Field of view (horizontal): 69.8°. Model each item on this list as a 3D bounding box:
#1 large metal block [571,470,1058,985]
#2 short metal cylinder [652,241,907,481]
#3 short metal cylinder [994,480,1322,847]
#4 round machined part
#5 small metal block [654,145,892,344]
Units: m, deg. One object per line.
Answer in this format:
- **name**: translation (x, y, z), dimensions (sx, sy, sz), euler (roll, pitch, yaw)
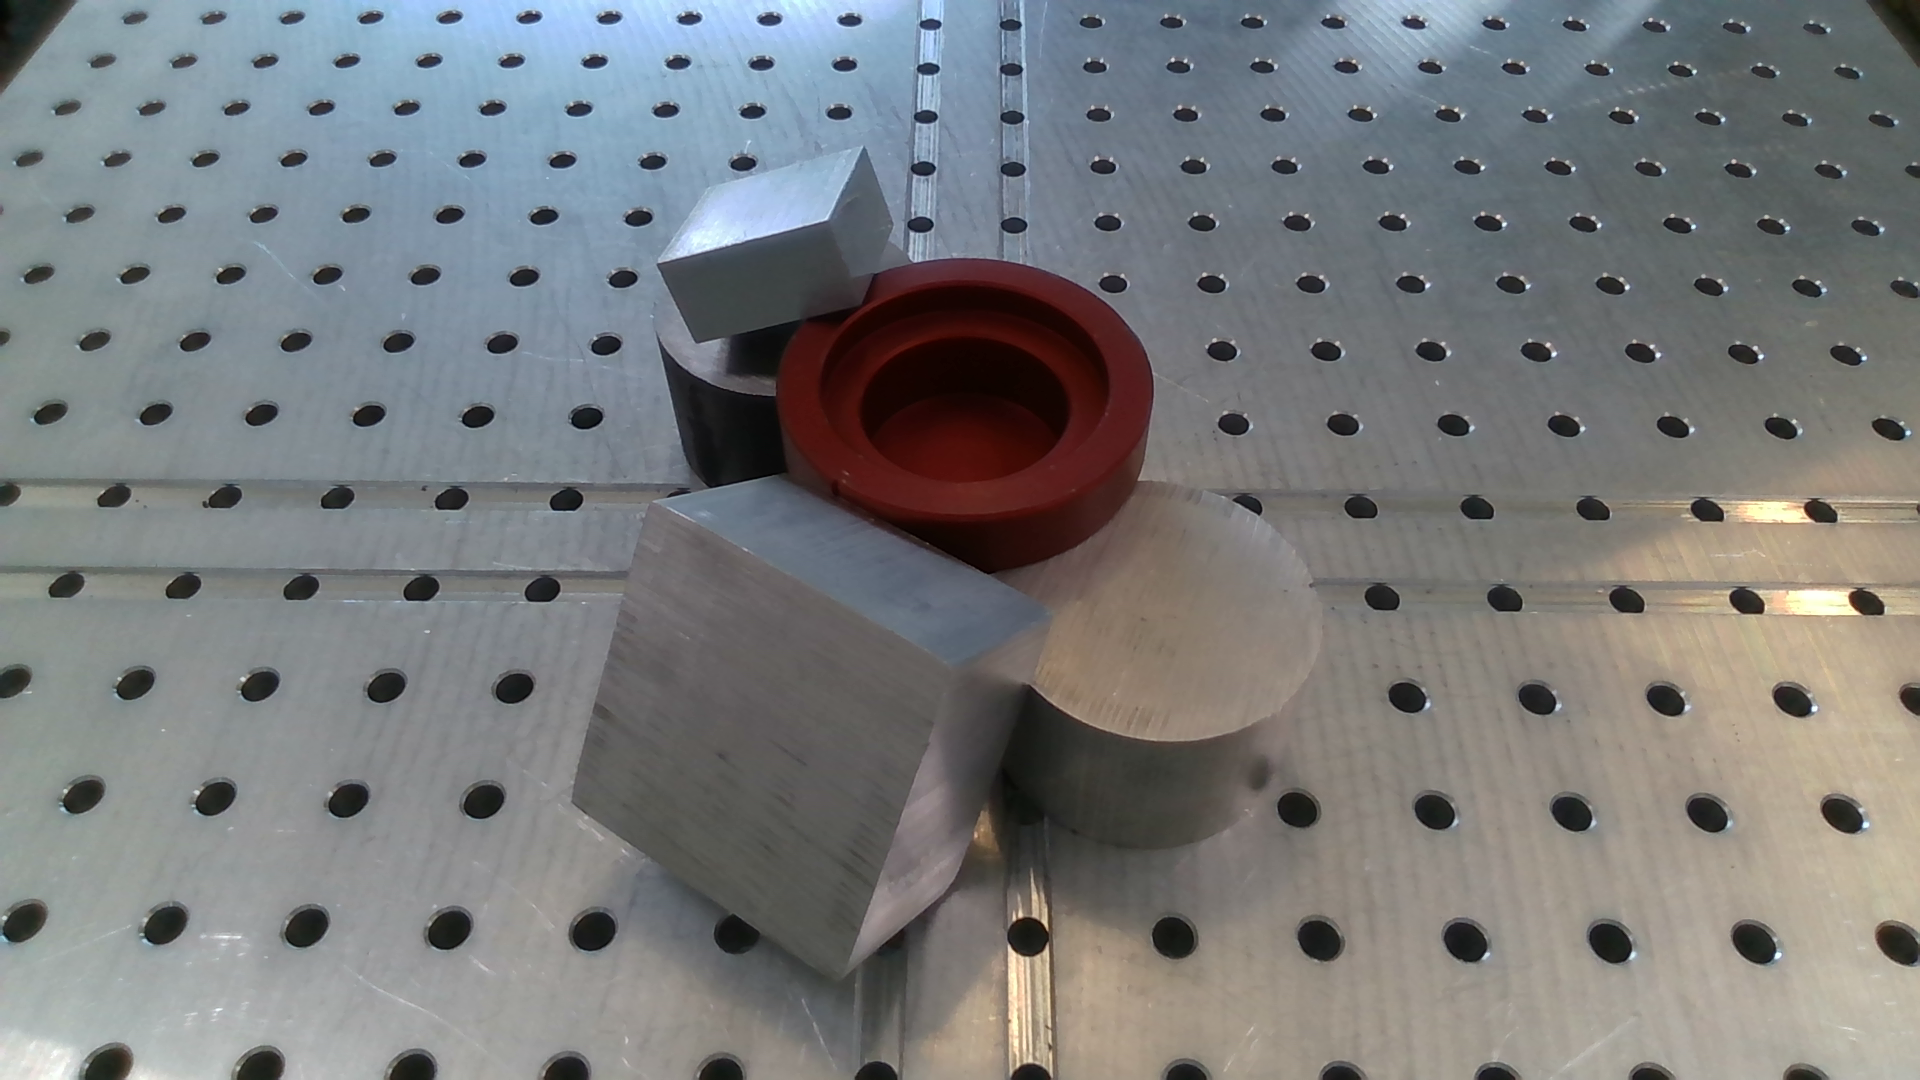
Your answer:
- **large metal block**: translation (-0.035, 0.039, 0.320), dimensions (0.080, 0.080, 0.050), euler (27, 21, 21)
- **short metal cylinder**: translation (-0.051, -0.055, 0.426), dimensions (0.080, 0.050, 0.080), euler (0, 50, 0)
- **short metal cylinder**: translation (0.048, 0.031, 0.355), dimensions (0.080, 0.050, 0.080), euler (0, 50, 0)
- **round machined part**: translation (0.001, -0.030, 0.372), dimensions (0.098, 0.042, 0.098), euler (0, 50, 0)
- **small metal block**: translation (-0.050, -0.083, 0.384), dimensions (0.050, 0.025, 0.050), euler (-10, 35, 17)
